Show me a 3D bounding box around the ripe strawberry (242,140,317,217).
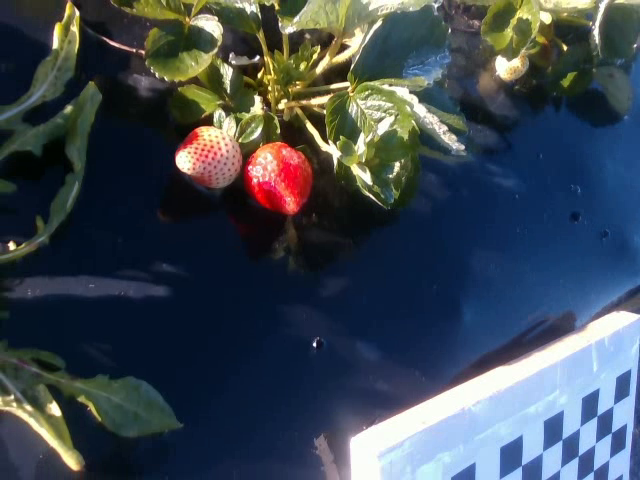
[{"bbox_3d":[-0.017,-0.029,0.320,0.040,0.038,0.056,-21,27,-5],"label":"ripe strawberry"}]
